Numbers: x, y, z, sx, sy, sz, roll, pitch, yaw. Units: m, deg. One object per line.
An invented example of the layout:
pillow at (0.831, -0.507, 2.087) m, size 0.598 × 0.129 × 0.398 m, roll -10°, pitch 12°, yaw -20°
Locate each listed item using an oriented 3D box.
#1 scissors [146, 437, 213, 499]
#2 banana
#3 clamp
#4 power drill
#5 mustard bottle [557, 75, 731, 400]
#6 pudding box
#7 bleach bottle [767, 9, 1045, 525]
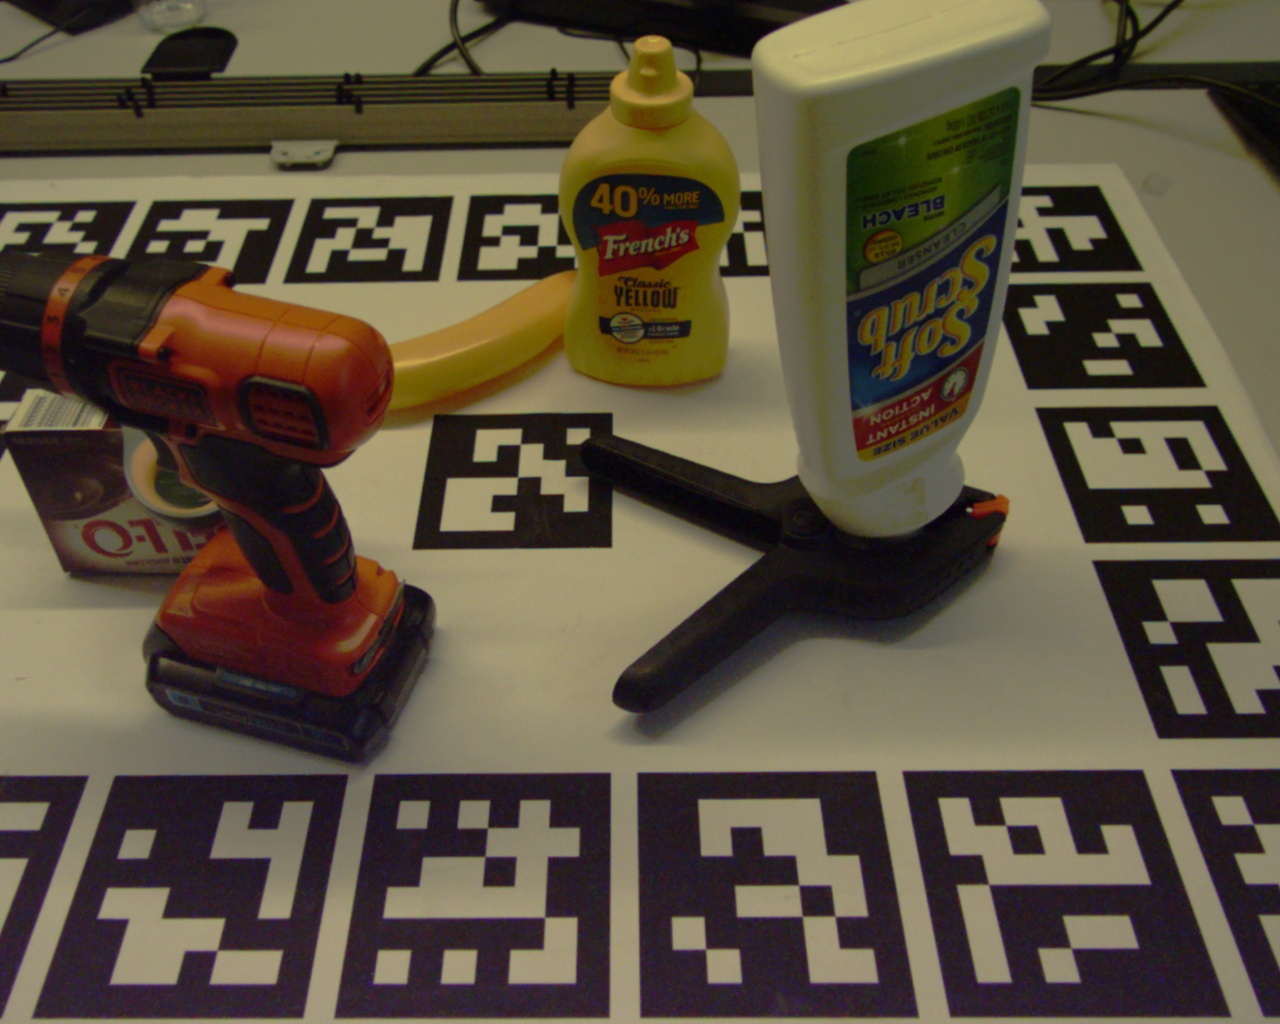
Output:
scissors at (-0.247, -0.067, 0.543) m, size 0.204 × 0.016 × 0.087 m, roll 21°, pitch 55°, yaw 13°
banana at (-0.107, -0.118, 0.702) m, size 0.196 × 0.038 × 0.075 m, roll -32°, pitch 38°, yaw -25°
clamp at (0.077, 0.001, 0.578) m, size 0.202 × 0.036 × 0.166 m, roll -5°, pitch 49°, yaw -5°
power drill at (-0.178, -0.009, 0.471) m, size 0.185 × 0.186 × 0.057 m, roll 8°, pitch 41°, yaw 11°
mustard bottle at (0.002, -0.152, 0.643) m, size 0.096 × 0.191 × 0.058 m, roll 11°, pitch 48°, yaw 8°
pudding box at (-0.238, -0.018, 0.585) m, size 0.114 × 0.090 × 0.039 m, roll 3°, pitch 41°, yaw 3°
bleach bottle at (0.113, -0.082, 0.512) m, size 0.102 × 0.249 × 0.068 m, roll -19°, pitch 46°, yaw -7°
